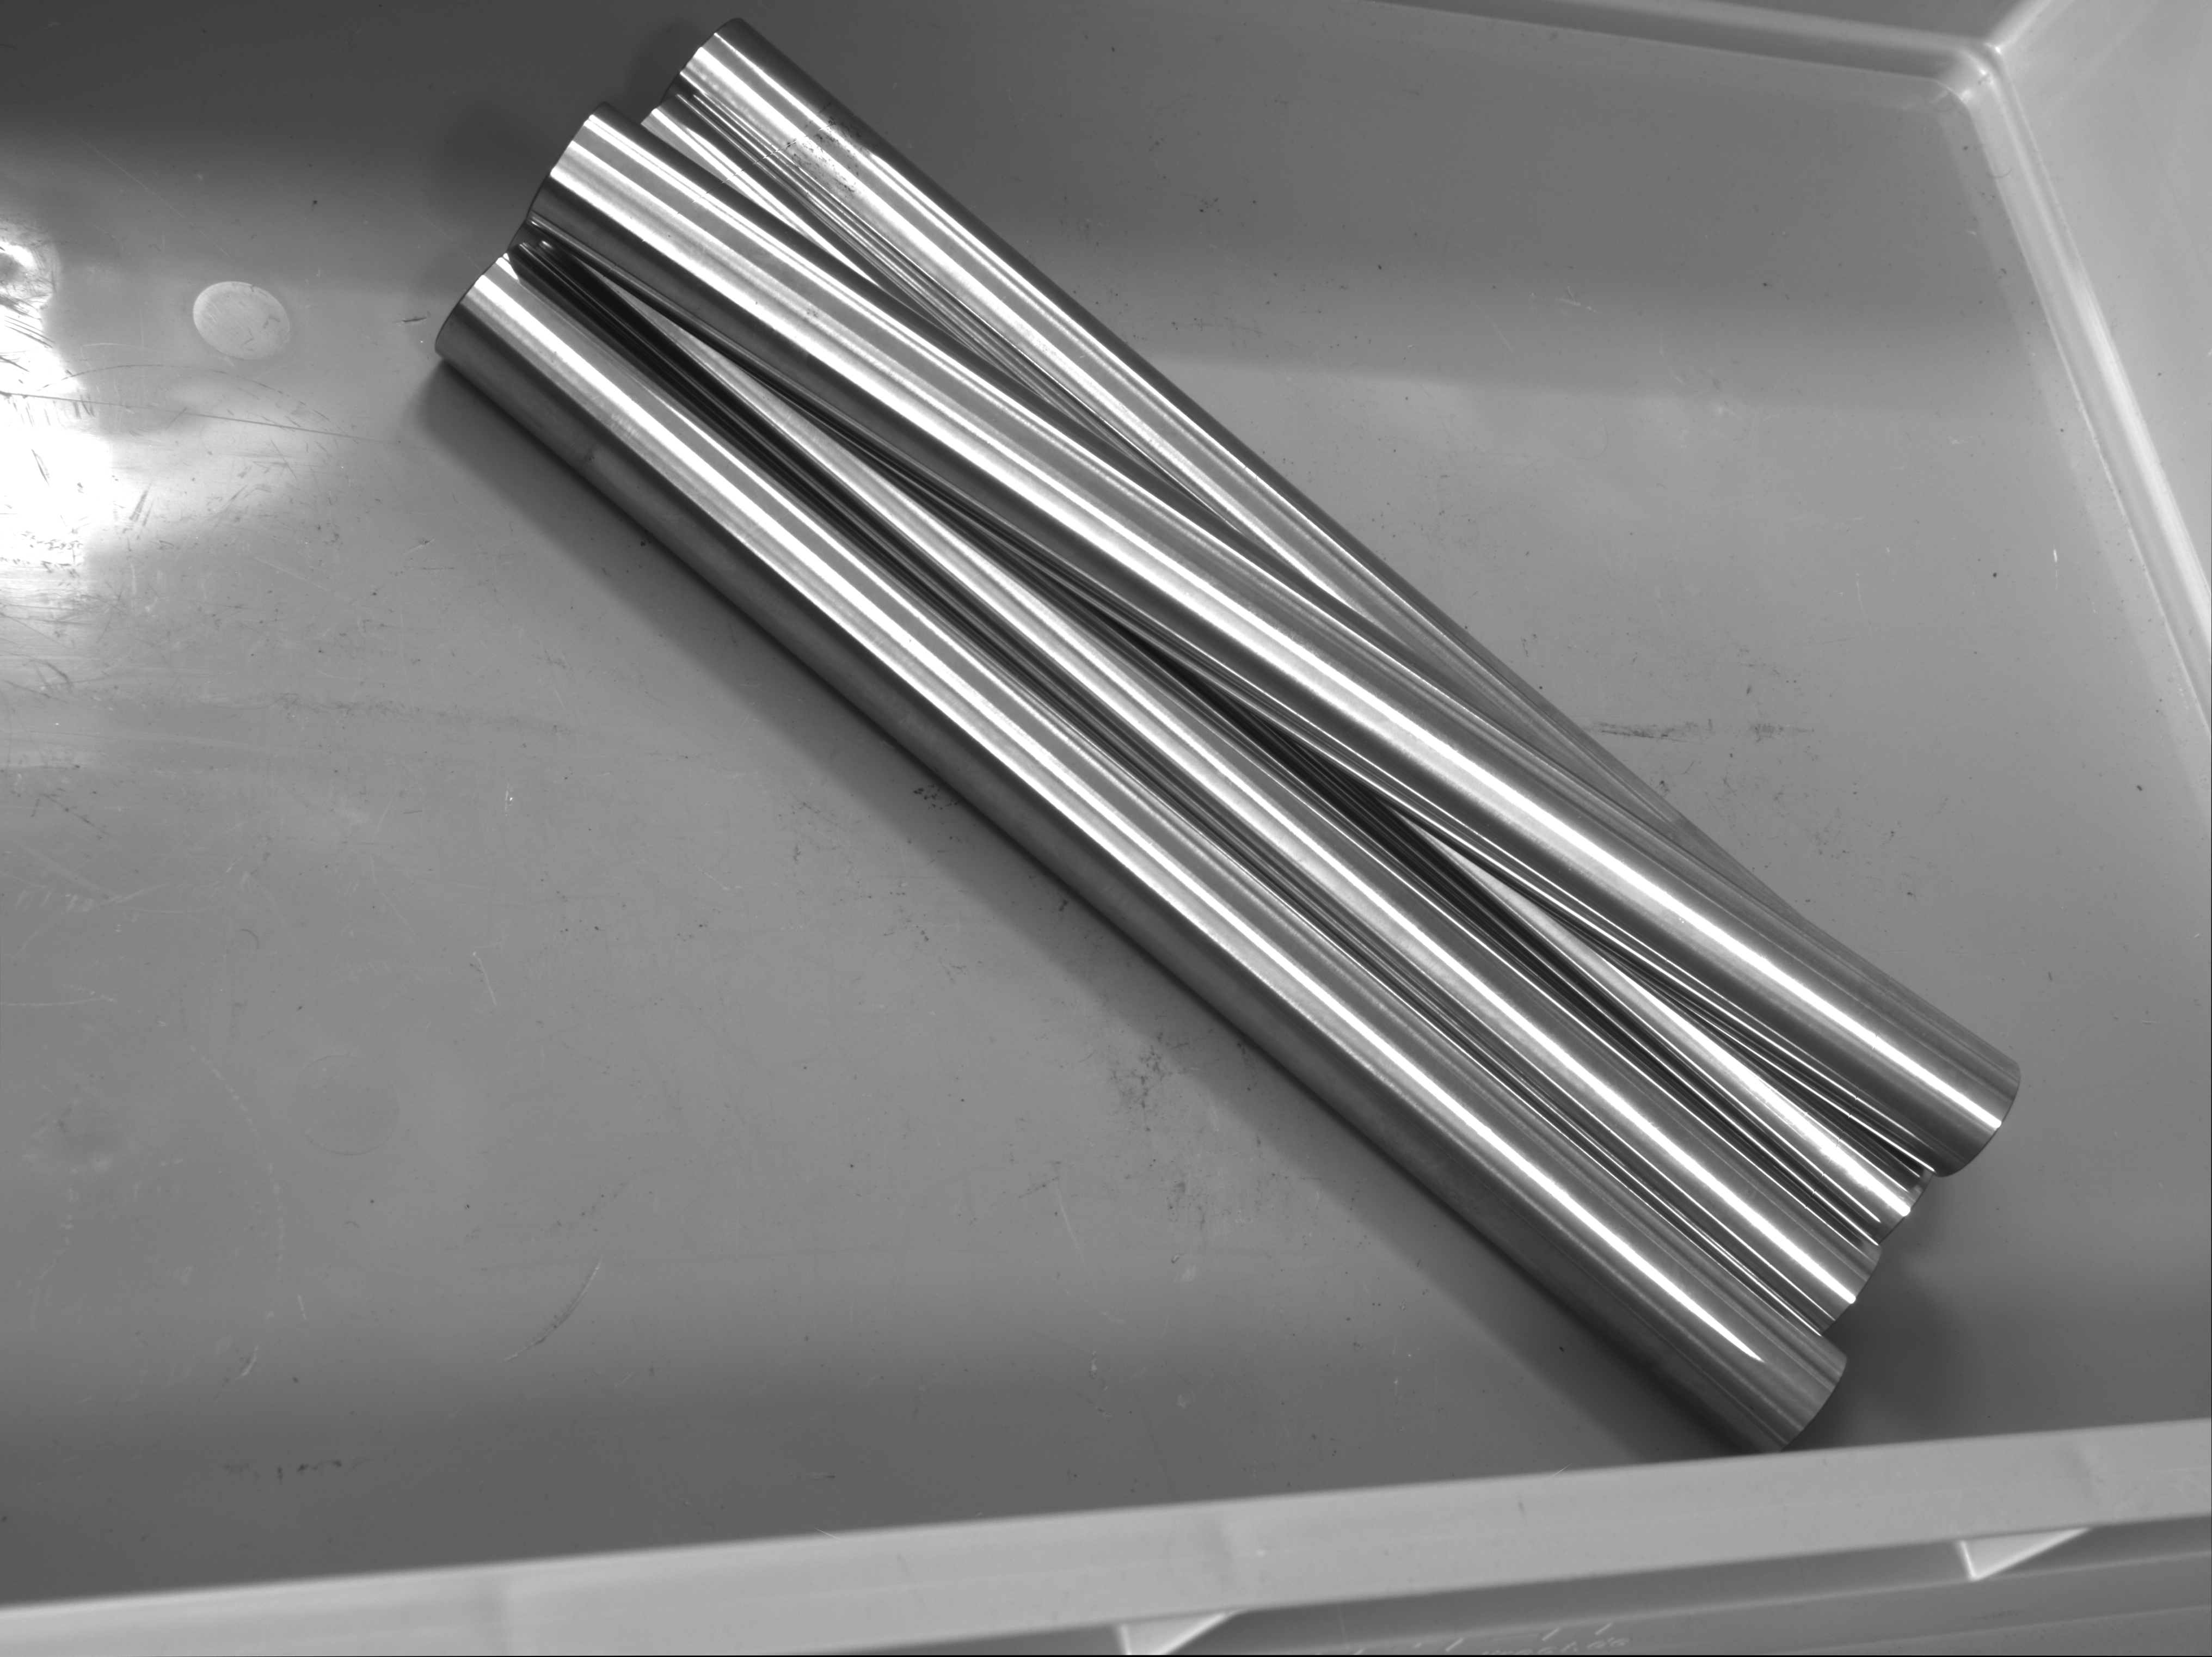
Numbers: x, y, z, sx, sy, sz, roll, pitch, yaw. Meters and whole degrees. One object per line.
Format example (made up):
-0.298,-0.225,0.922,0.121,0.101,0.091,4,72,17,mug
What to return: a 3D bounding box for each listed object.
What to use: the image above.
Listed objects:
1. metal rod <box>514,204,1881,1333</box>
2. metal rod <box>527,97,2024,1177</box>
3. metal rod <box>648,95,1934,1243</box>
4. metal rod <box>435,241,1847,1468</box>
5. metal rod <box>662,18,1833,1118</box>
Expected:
0.016,-0.013,0.654,0.300,0.025,0.025,40,51,-1,metal rod
0.032,-0.031,0.641,0.300,0.025,0.025,34,51,-6,metal rod
0.029,-0.027,0.669,0.300,0.025,0.025,40,51,-1,metal rod
0.006,0.005,0.638,0.300,0.025,0.025,40,51,-1,metal rod
0.039,-0.044,0.685,0.300,0.025,0.025,40,51,-1,metal rod
